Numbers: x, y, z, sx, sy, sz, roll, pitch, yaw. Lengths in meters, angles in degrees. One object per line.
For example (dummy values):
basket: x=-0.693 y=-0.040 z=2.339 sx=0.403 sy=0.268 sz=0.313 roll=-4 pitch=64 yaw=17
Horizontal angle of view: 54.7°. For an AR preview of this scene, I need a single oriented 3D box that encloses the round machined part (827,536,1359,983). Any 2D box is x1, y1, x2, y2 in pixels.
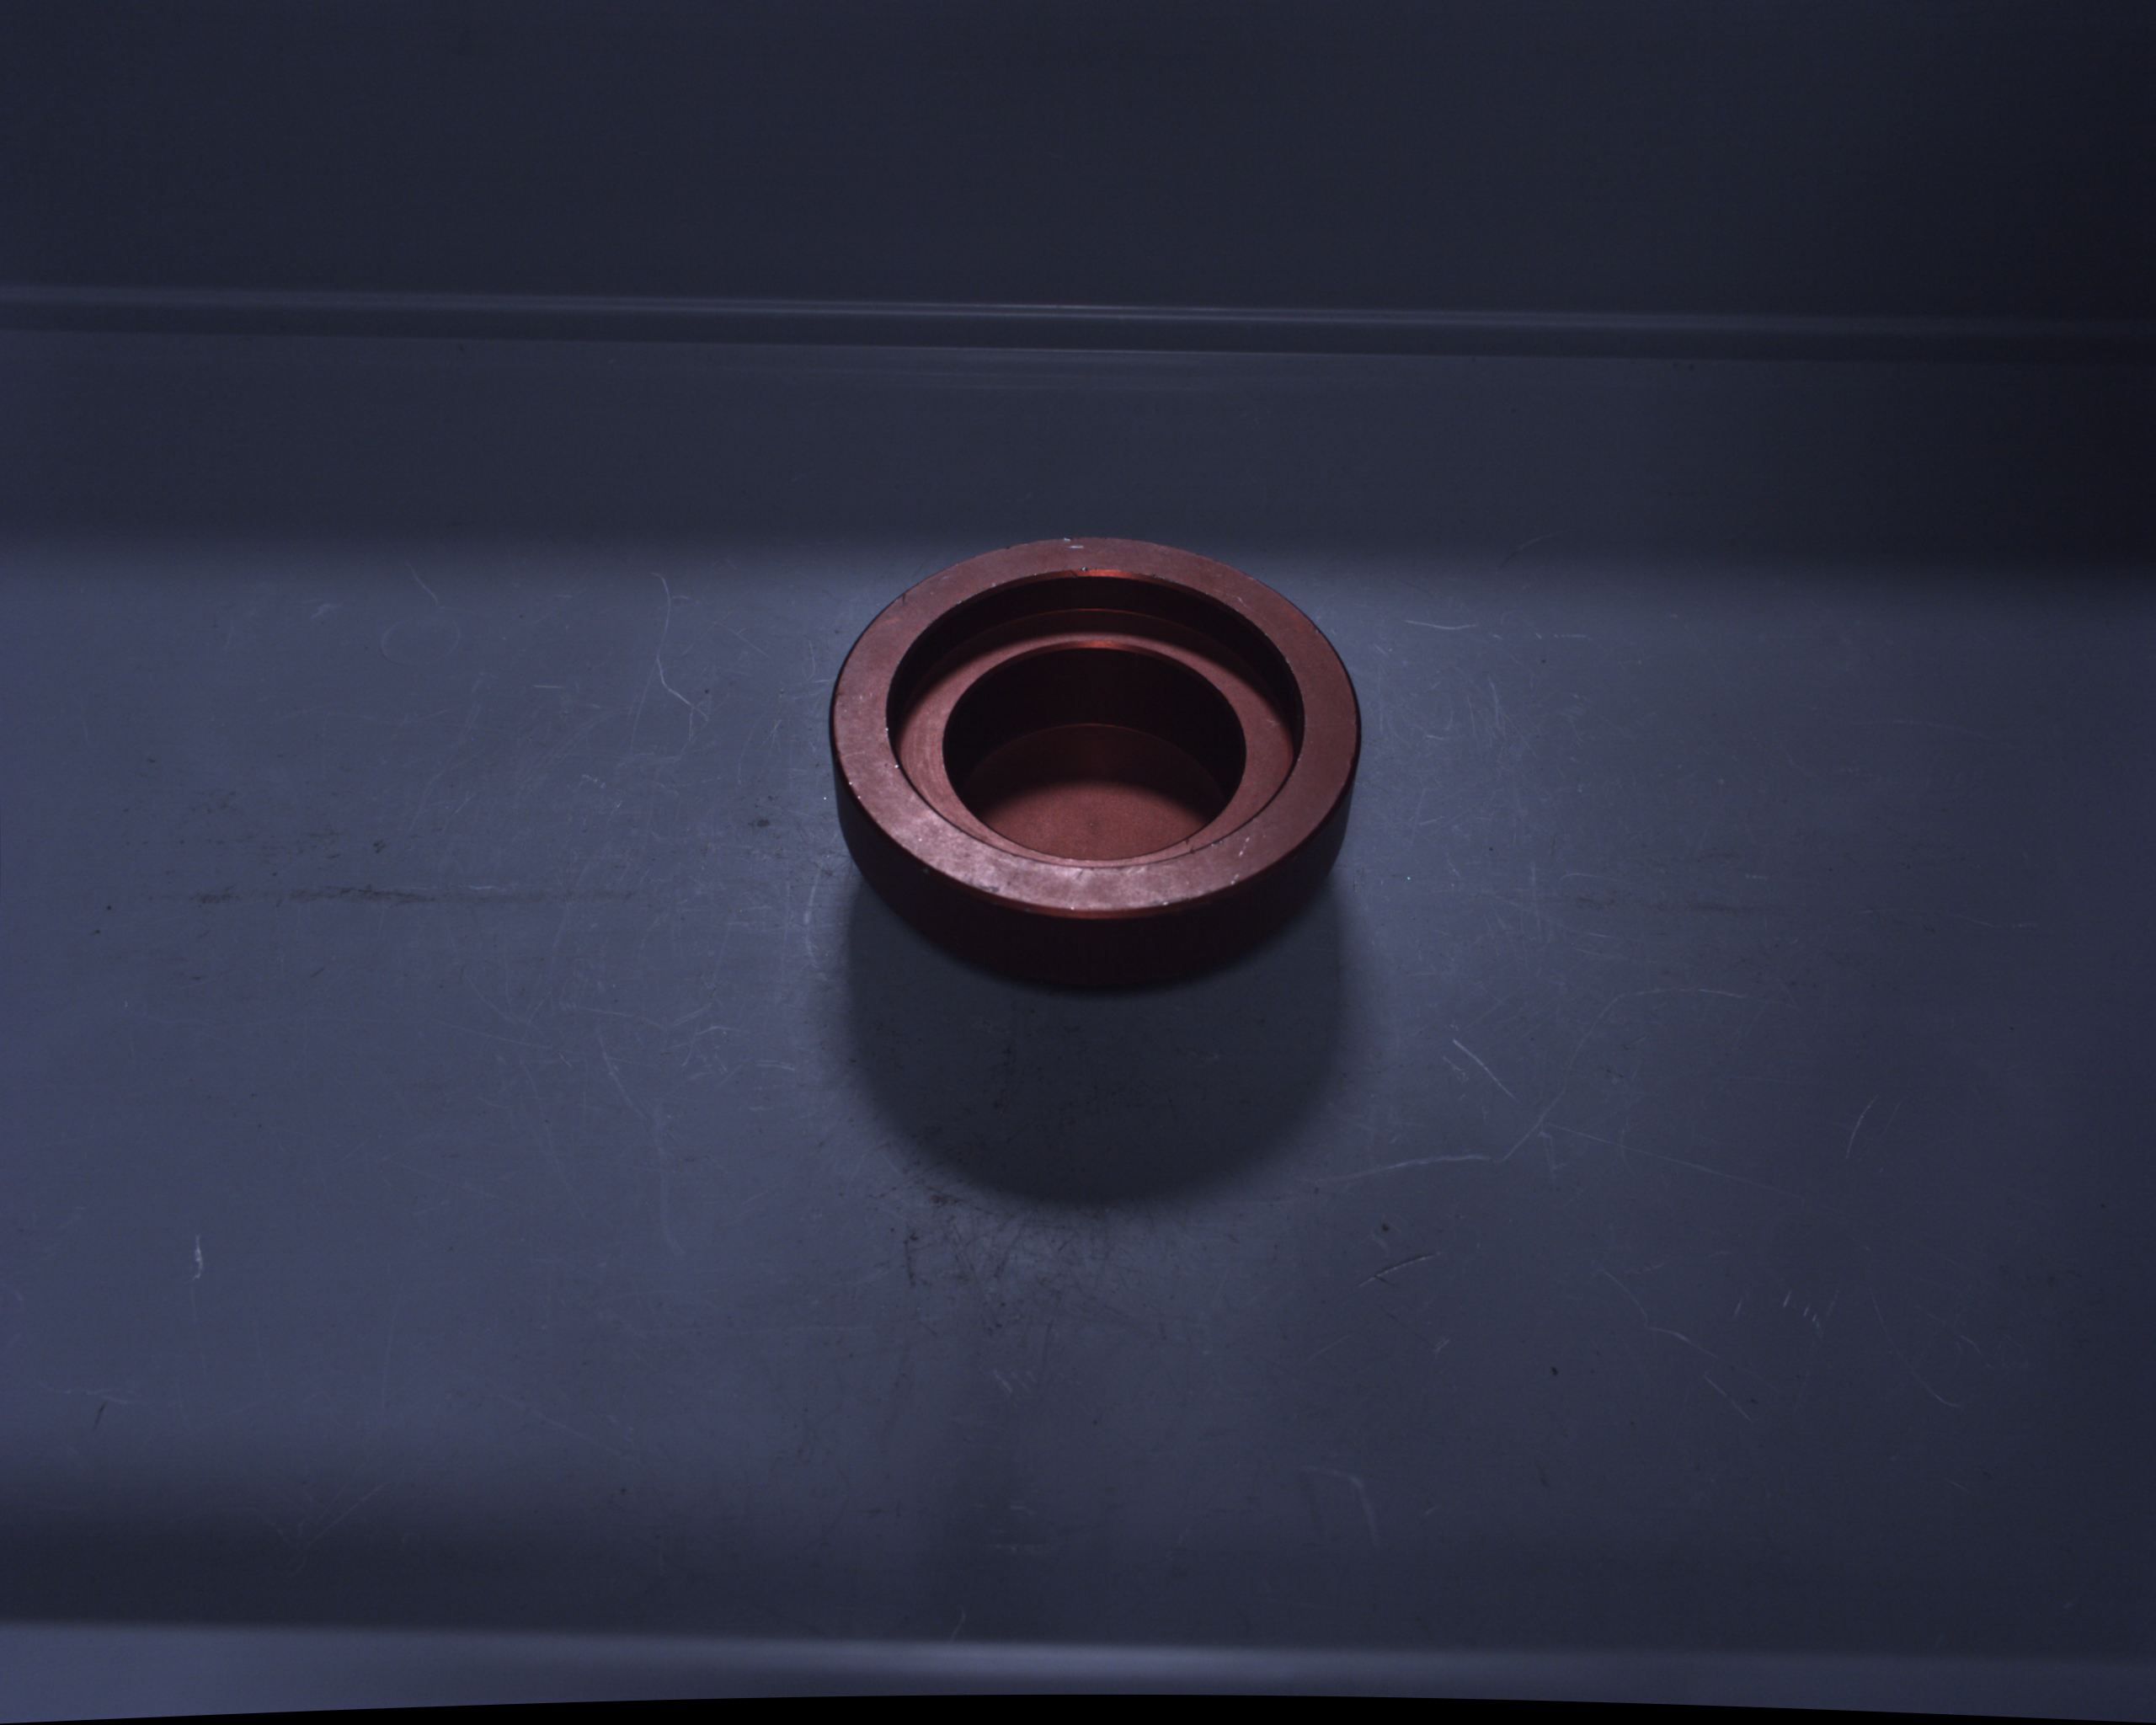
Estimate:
round machined part: x=0.003 y=-0.015 z=0.402 sx=0.099 sy=0.042 sz=0.098 roll=0 pitch=50 yaw=0
